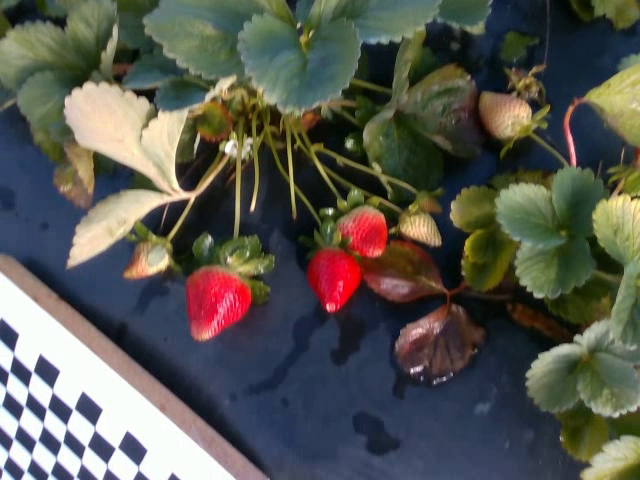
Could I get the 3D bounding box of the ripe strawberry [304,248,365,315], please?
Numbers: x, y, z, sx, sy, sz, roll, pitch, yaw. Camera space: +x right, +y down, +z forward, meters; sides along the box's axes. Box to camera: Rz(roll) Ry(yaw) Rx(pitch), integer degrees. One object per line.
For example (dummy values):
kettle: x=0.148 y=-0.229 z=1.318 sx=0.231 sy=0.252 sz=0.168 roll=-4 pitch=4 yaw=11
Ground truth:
ripe strawberry: x=0.007 y=0.033 z=0.414 sx=0.044 sy=0.055 sz=0.041 roll=-31 pitch=-55 yaw=31

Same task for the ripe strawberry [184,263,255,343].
ripe strawberry: x=-0.078 y=0.047 z=0.417 sx=0.050 sy=0.065 sz=0.050 roll=-4 pitch=-45 yaw=31
